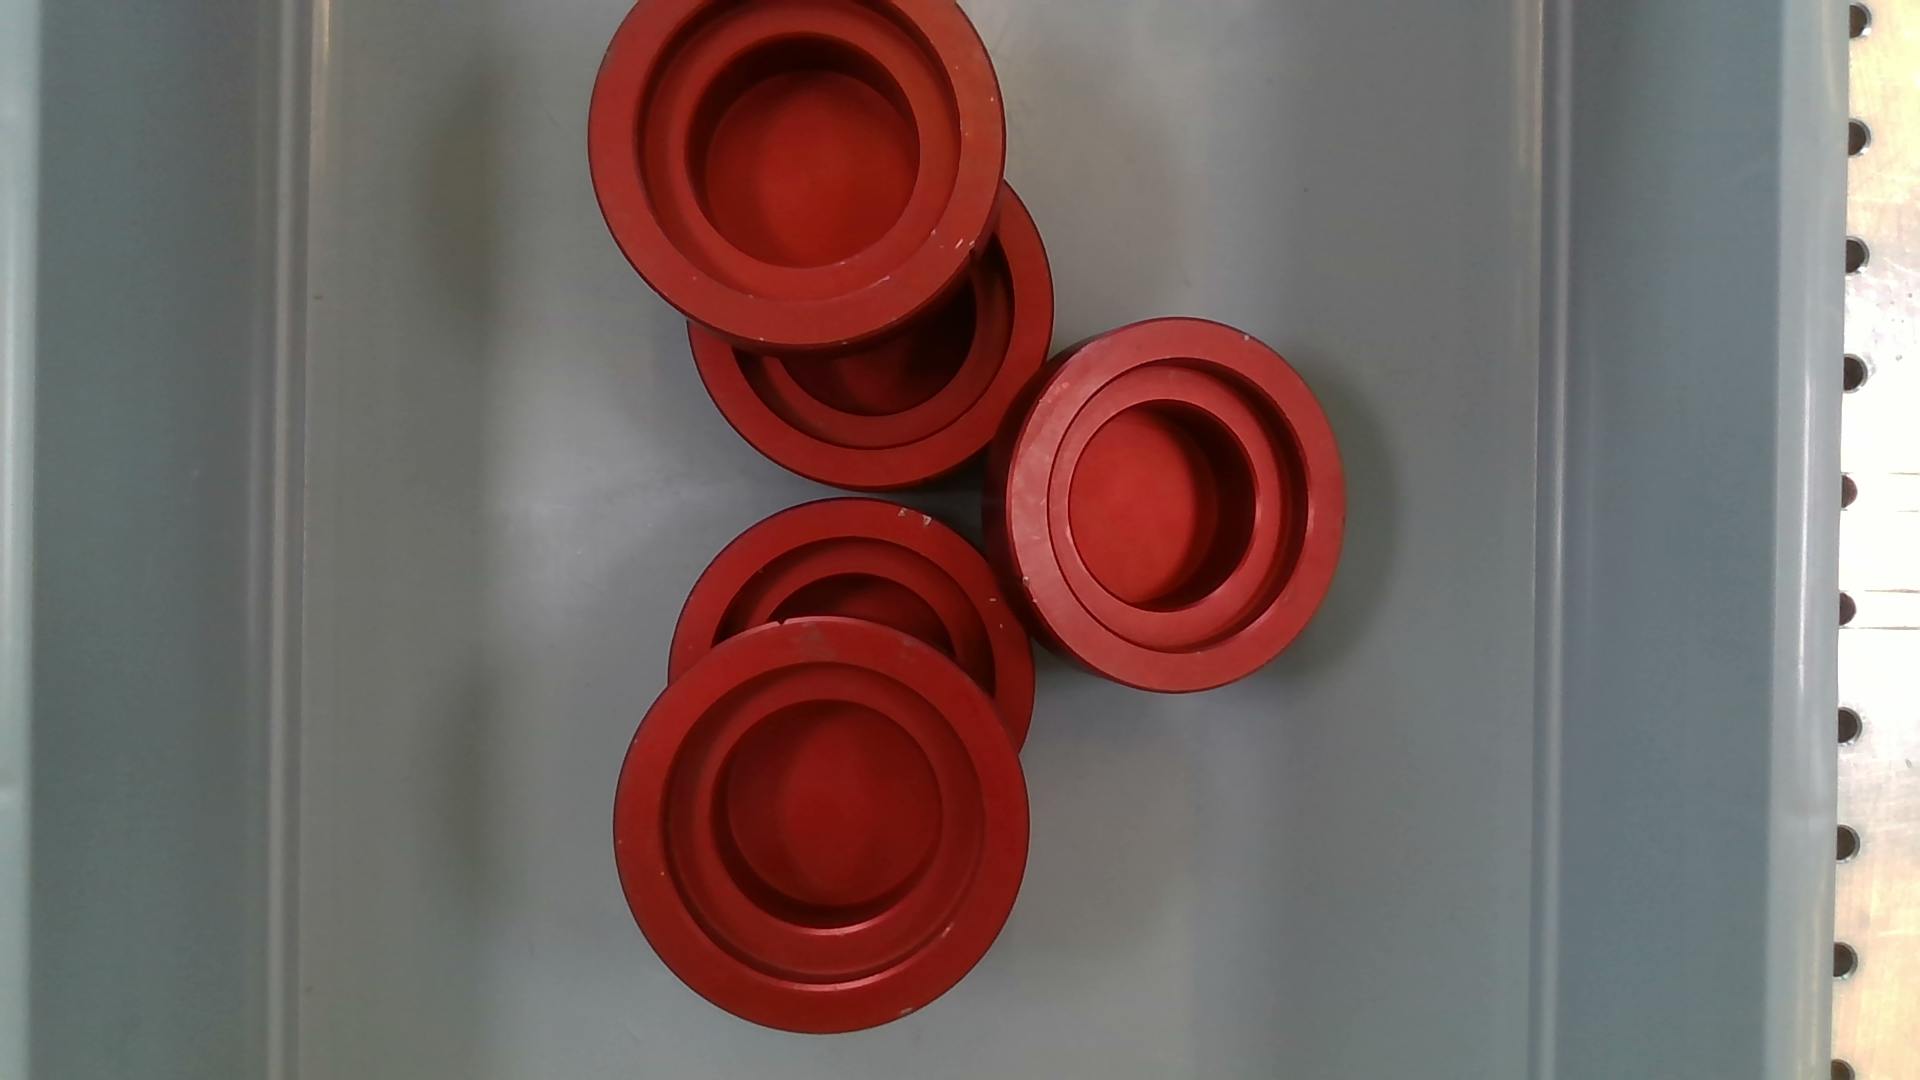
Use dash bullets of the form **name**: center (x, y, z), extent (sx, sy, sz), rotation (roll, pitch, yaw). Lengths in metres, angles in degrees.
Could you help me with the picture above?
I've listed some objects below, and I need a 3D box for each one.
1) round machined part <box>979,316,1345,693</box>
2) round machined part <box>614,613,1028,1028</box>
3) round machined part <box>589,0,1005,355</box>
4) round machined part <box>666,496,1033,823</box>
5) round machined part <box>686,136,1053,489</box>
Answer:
- **round machined part**: center (0.051, -0.009, 0.376), extent (0.098, 0.042, 0.098), rotation (0, 92, -18)
- **round machined part**: center (-0.033, 0.066, 0.345), extent (0.098, 0.042, 0.098), rotation (0, 90, 0)
- **round machined part**: center (-0.038, -0.094, 0.344), extent (0.098, 0.042, 0.098), rotation (0, 90, 0)
- **round machined part**: center (-0.029, 0.037, 0.386), extent (0.098, 0.042, 0.098), rotation (0, 90, 0)
- **round machined part**: center (-0.024, -0.063, 0.386), extent (0.098, 0.042, 0.098), rotation (0, 90, 0)
